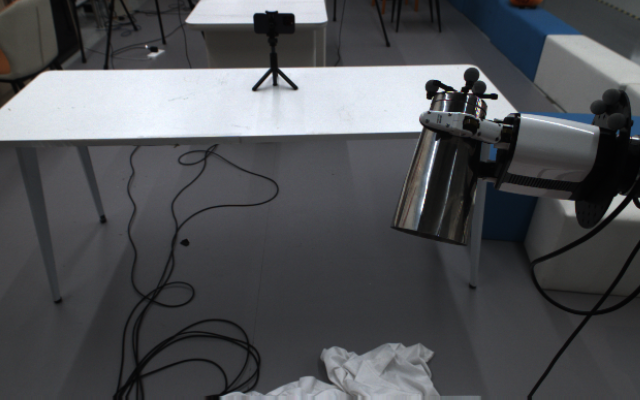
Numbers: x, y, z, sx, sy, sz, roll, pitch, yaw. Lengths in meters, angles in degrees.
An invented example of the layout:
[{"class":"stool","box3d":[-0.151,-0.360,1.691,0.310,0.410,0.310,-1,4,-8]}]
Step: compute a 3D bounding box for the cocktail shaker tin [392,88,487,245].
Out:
[{"class":"cocktail shaker tin","box3d":[0.152,-0.041,0.587,0.093,0.170,0.093,15,-5,1]}]
